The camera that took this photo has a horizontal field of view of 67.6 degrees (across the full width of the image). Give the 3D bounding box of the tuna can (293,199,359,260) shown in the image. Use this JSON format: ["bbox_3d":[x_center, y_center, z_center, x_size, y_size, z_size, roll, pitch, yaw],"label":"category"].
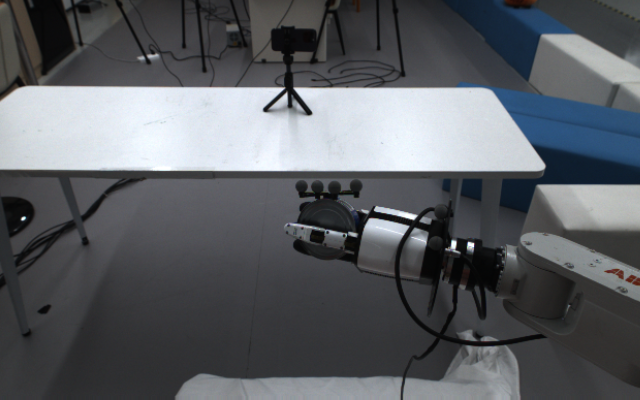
[{"bbox_3d":[0.014,0.039,0.676,0.085,0.085,0.034,15,10,18],"label":"tuna can"}]
